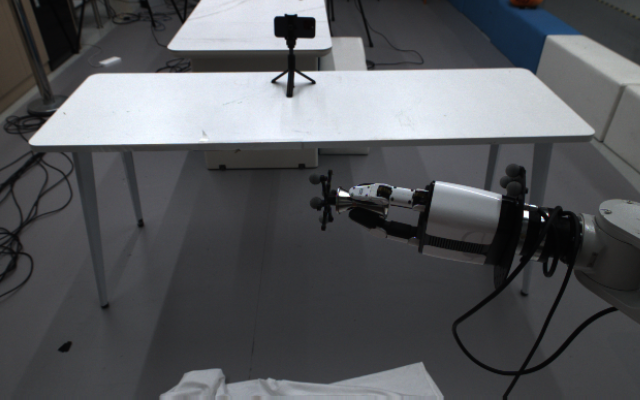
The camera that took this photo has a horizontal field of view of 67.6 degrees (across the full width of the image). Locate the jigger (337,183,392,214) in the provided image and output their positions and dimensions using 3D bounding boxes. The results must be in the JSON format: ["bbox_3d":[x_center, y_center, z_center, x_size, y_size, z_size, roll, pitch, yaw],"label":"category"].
[{"bbox_3d":[0.066,-0.002,0.672,0.071,0.043,0.043,3,34,15],"label":"jigger"}]
